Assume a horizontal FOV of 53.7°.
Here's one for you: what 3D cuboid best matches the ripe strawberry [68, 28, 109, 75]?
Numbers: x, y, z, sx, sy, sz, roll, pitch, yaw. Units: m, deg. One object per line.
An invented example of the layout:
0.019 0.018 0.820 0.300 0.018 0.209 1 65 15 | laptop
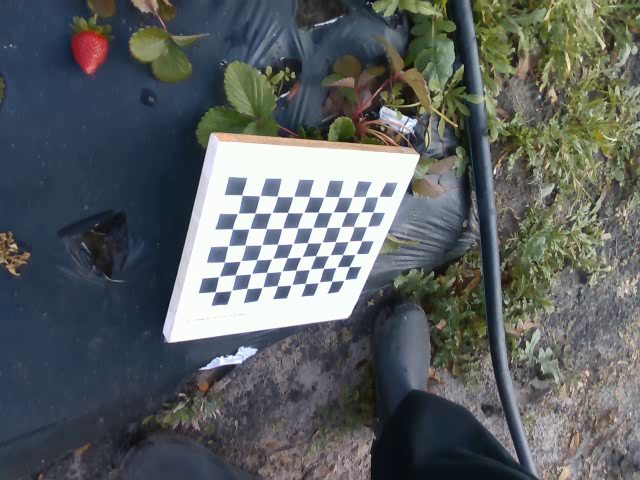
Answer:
-0.222 -0.178 0.597 0.042 0.052 0.045 -10 -17 28 | ripe strawberry
